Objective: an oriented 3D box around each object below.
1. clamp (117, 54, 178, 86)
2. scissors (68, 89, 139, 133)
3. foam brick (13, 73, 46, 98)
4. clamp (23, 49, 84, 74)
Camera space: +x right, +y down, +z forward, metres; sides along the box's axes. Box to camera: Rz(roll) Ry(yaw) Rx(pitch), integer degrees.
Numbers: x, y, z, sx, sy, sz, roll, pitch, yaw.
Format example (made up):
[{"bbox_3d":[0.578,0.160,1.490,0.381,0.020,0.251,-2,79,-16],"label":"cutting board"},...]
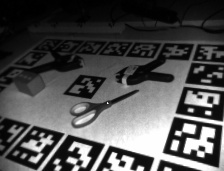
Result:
[{"bbox_3d":[0.096,-0.040,0.636,0.165,0.037,0.121,-13,46,4],"label":"clamp"},{"bbox_3d":[-0.018,0.051,0.569,0.204,0.016,0.086,-25,48,-15],"label":"scissors"},{"bbox_3d":[-0.263,0.000,0.690,0.077,0.052,0.053,10,47,34],"label":"foam brick"},{"bbox_3d":[-0.192,-0.083,0.774,0.201,0.037,0.166,5,40,22],"label":"clamp"}]
